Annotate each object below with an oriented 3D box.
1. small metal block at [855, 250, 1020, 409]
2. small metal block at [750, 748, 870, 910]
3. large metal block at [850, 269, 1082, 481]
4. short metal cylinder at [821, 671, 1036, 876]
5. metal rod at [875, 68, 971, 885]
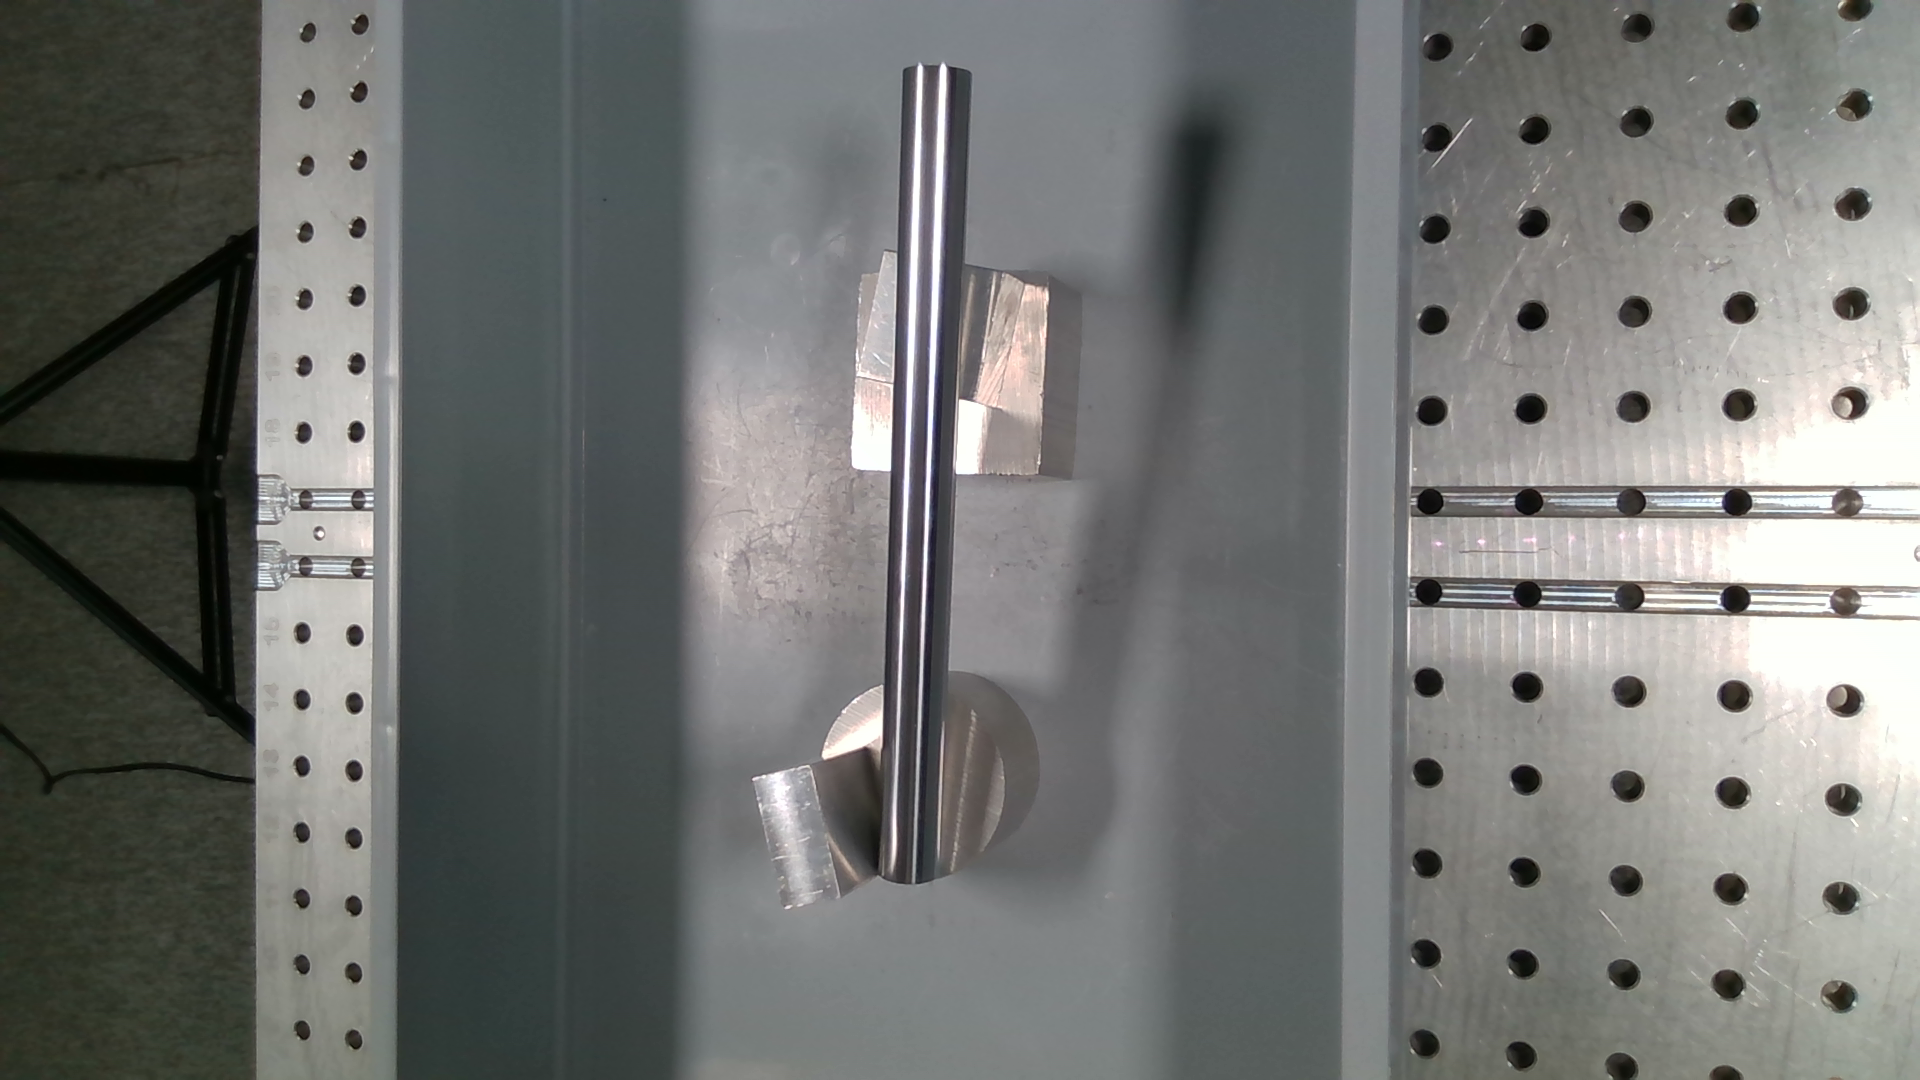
[{"bbox_3d":[-0.008,-0.081,0.533,0.050,0.025,0.050,14,95,19],"label":"small metal block"},{"bbox_3d":[-0.053,0.111,0.537,0.025,0.050,0.050,-16,85,20],"label":"small metal block"},{"bbox_3d":[0.003,-0.066,0.568,0.080,0.050,0.080,3,91,20],"label":"large metal block"},{"bbox_3d":[-0.012,0.097,0.576,0.080,0.050,0.080,0,90,20],"label":"short metal cylinder"},{"bbox_3d":[-0.015,-0.018,0.515,0.025,0.025,0.300,6,100,20],"label":"metal rod"}]
